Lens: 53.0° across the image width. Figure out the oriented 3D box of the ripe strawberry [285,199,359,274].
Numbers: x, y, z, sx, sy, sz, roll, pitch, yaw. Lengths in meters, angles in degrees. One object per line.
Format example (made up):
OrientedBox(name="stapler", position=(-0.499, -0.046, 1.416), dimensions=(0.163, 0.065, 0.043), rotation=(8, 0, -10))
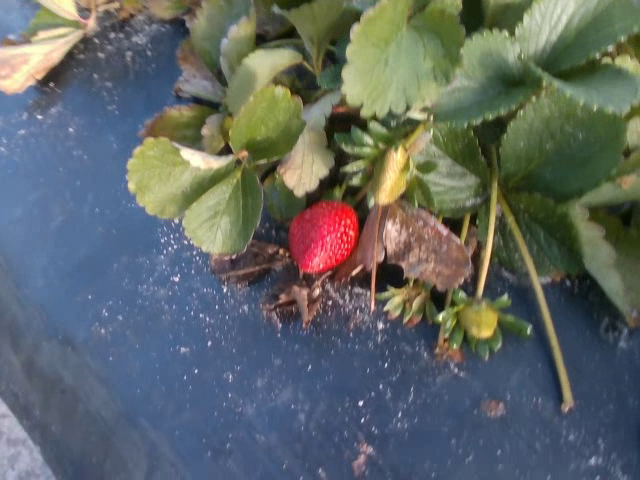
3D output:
OrientedBox(name="ripe strawberry", position=(-0.001, 0.000, 0.219), dimensions=(0.031, 0.026, 0.030), rotation=(2, 43, 18))
